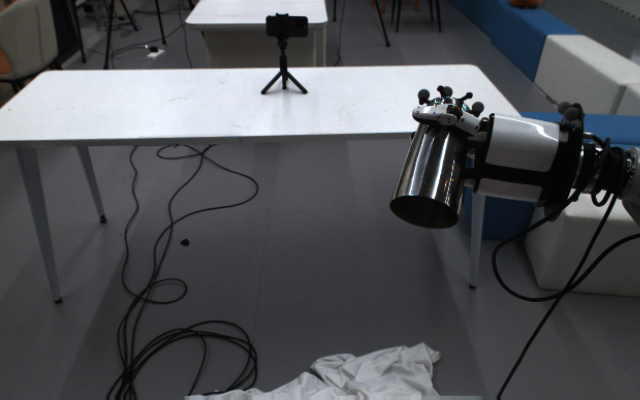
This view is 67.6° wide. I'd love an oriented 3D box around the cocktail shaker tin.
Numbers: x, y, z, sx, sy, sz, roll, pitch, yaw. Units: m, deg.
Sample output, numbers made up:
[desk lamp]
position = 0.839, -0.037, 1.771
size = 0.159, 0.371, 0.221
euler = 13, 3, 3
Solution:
[cocktail shaker tin]
position = 0.163, -0.060, 0.671
size = 0.093, 0.093, 0.170
euler = 13, 65, 15
